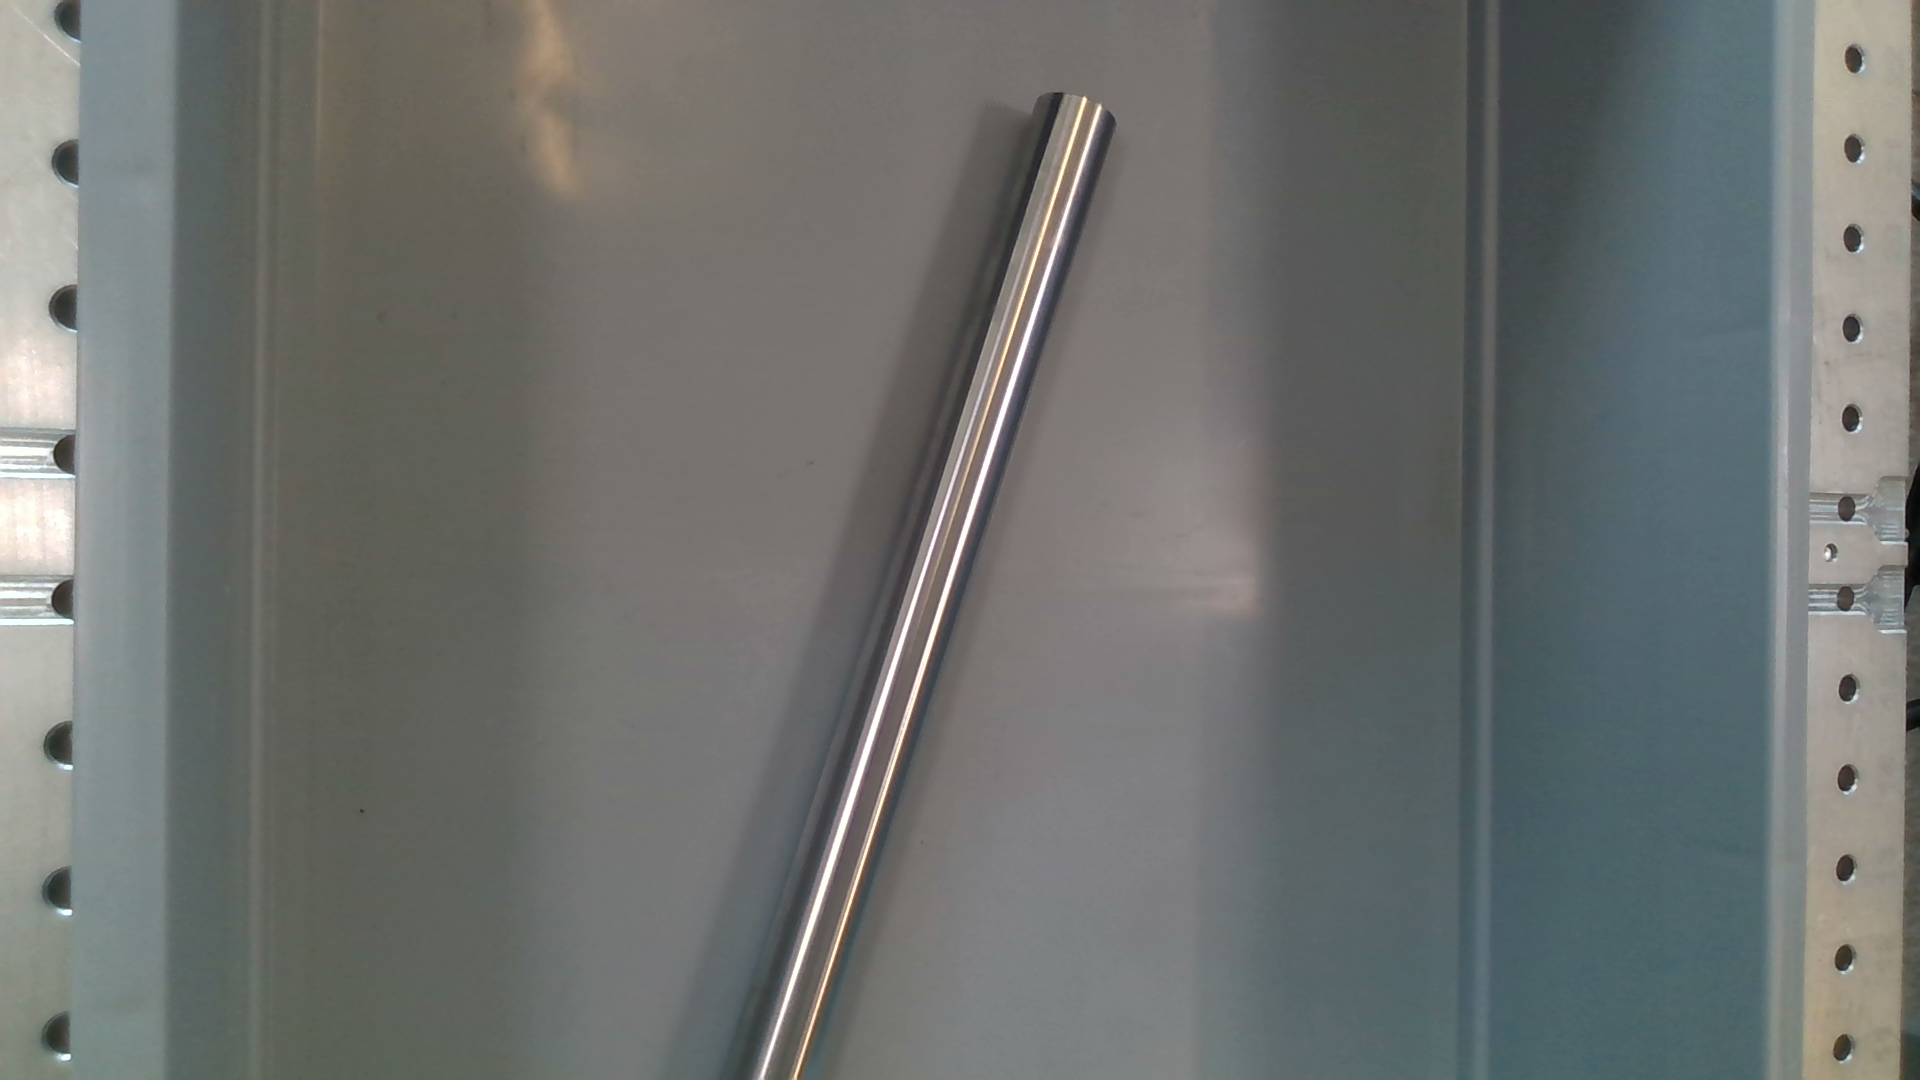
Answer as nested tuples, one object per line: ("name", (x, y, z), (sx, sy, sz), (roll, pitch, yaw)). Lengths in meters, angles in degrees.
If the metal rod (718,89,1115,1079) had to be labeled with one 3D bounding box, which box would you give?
("metal rod", (-0.011, 0.016, 0.388), (0.025, 0.025, 0.300), (20, 83, -19))
